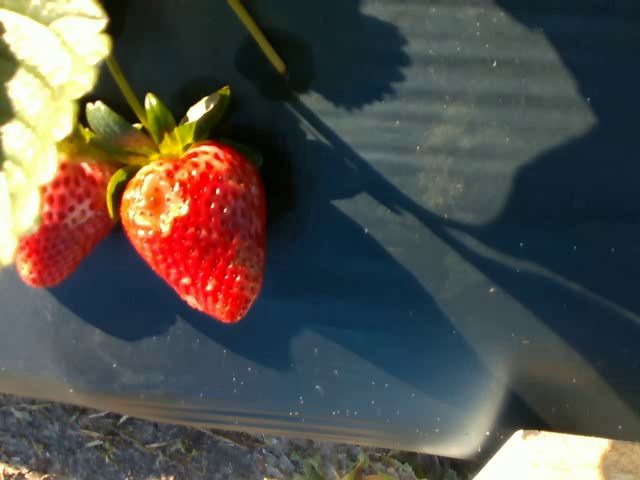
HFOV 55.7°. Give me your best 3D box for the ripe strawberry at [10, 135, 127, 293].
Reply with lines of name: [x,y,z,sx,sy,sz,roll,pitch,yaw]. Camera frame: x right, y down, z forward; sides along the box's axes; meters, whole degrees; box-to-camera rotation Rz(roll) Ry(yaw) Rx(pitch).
ripe strawberry: [-0.088,-0.009,0.199,0.051,0.061,0.043,17,12,-18]

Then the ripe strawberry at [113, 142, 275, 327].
ripe strawberry: [-0.035,0.000,0.191,0.051,0.067,0.056,-13,-12,-45]
